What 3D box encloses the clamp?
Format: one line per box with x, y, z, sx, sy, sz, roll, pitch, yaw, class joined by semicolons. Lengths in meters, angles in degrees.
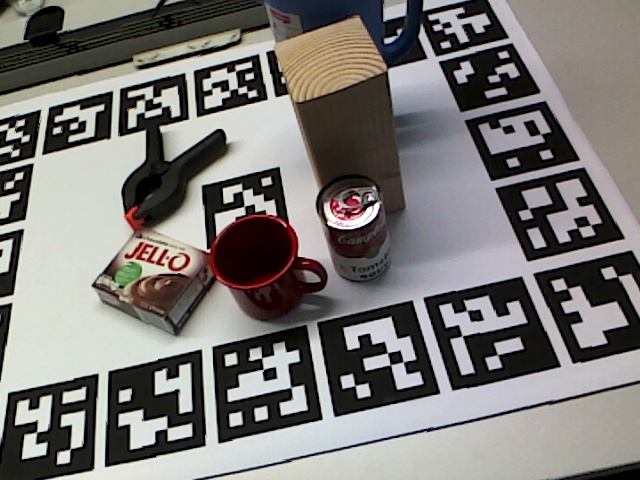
-0.197;-0.085;0.800;0.122;0.036;0.165;14;60;14;clamp

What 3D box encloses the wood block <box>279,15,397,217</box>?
0.025;-0.114;0.652;0.090;0.205;0.091;-14;53;-1;wood block

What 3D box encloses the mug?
-0.053;0.035;0.644;0.118;0.081;0.093;17;58;25;mug

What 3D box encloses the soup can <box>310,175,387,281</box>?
0.032;-0.009;0.641;0.068;0.101;0.068;-6;57;9;soup can

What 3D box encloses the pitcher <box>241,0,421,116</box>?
0.026;-0.225;0.711;0.189;0.241;0.134;-16;51;5;pitcher

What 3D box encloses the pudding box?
-0.193;0.045;0.701;0.114;0.038;0.090;18;64;25;pudding box
